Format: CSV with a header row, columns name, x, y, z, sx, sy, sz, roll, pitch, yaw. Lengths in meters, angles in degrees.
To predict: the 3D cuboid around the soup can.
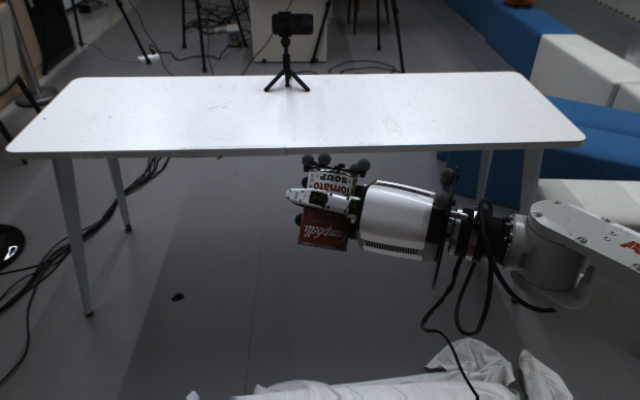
name,x,y,z,sx,sy,sz,roll,pitch,yaw
soup can,0.011,0.014,0.647,0.067,0.101,0.067,9,-6,1
